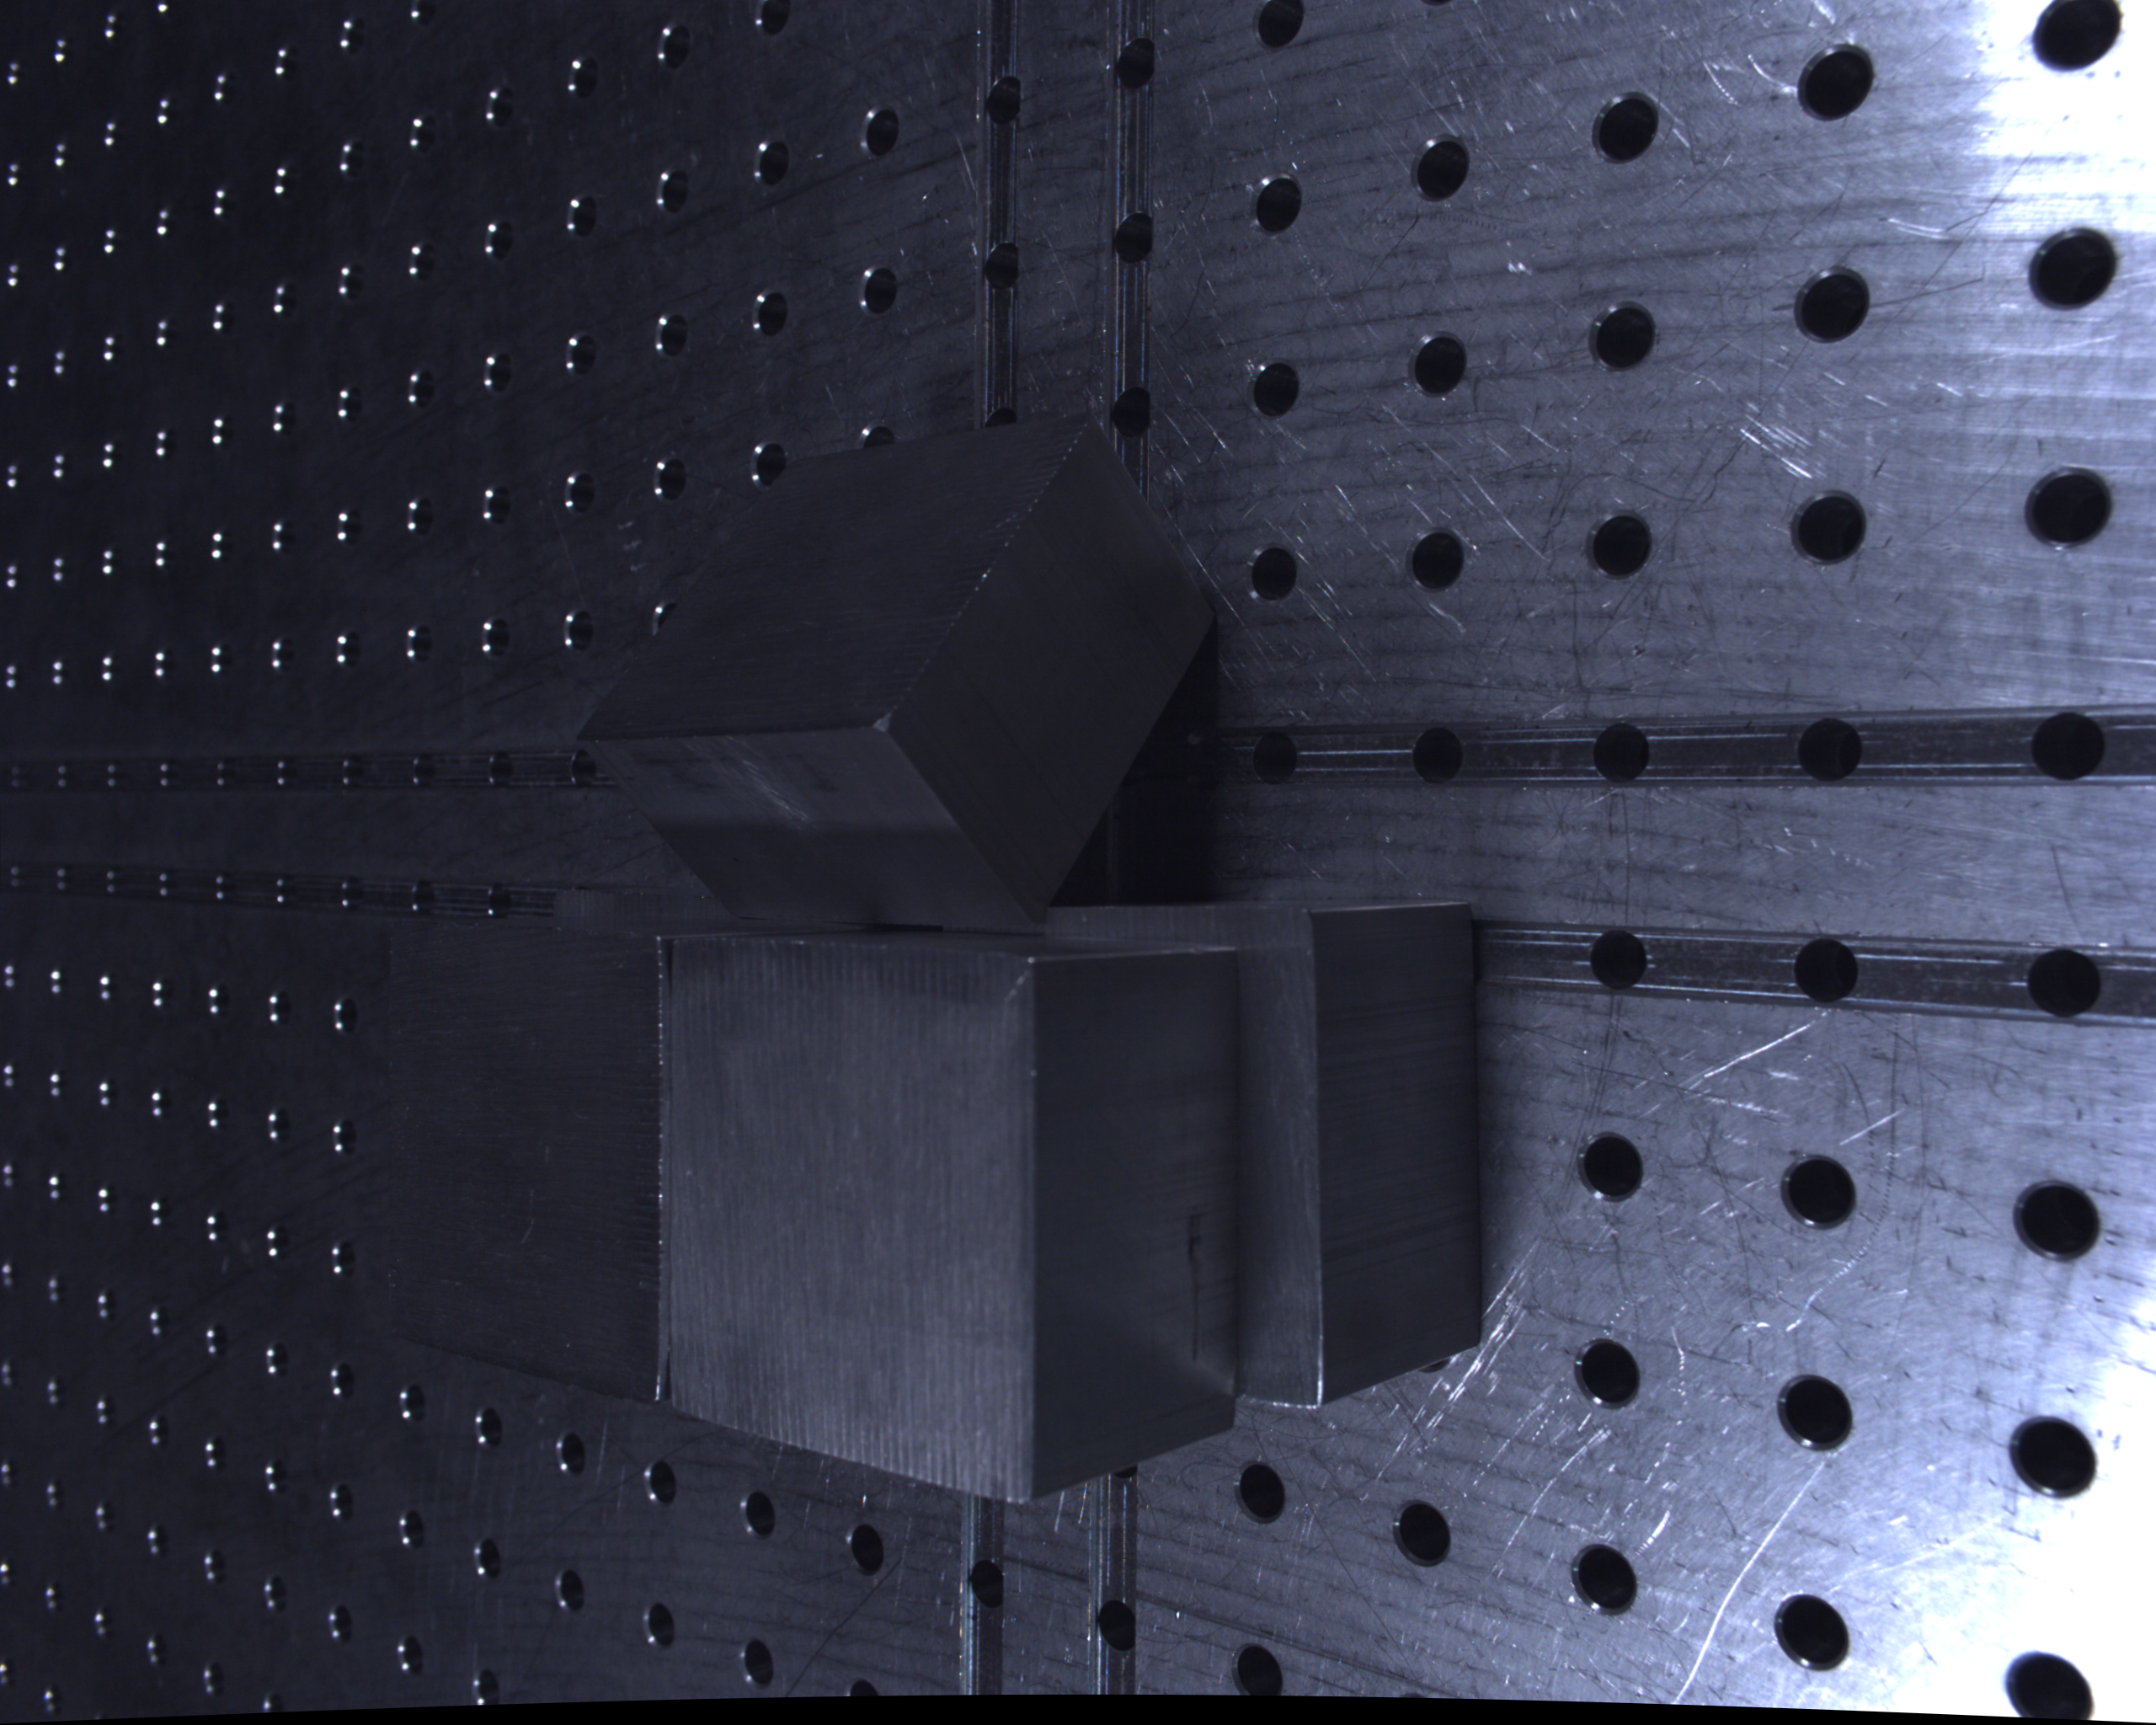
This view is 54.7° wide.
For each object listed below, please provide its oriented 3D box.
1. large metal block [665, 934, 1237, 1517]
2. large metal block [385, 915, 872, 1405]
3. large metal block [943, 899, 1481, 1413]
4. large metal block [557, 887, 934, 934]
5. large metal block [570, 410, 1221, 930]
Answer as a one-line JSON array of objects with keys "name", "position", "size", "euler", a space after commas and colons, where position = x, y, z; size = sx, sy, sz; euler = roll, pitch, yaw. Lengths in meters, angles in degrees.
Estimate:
[{"name": "large metal block", "position": [-0.022, 0.053, 0.341], "size": [0.080, 0.050, 0.079], "euler": [0, 90, 39]}, {"name": "large metal block", "position": [-0.085, 0.050, 0.392], "size": [0.080, 0.050, 0.079], "euler": [0, 90, 39]}, {"name": "large metal block", "position": [0.023, 0.047, 0.372], "size": [0.080, 0.050, 0.079], "euler": [-1, 89, 39]}, {"name": "large metal block", "position": [-0.067, 0.046, 0.446], "size": [0.080, 0.050, 0.079], "euler": [2, 91, 39]}, {"name": "large metal block", "position": [-0.033, -0.035, 0.391], "size": [0.080, 0.050, 0.080], "euler": [1, 48, 39]}]
